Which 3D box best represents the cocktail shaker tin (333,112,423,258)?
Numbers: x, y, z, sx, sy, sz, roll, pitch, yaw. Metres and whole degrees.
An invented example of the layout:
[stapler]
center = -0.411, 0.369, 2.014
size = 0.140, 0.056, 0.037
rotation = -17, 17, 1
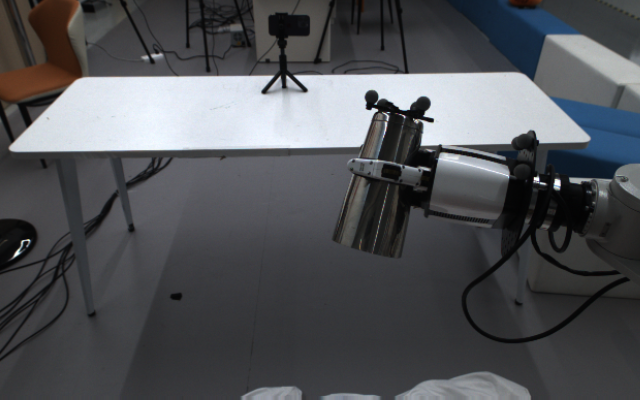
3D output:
[cocktail shaker tin]
center = 0.079, -0.022, 0.619
size = 0.093, 0.170, 0.093
rotation = 14, 2, 0
